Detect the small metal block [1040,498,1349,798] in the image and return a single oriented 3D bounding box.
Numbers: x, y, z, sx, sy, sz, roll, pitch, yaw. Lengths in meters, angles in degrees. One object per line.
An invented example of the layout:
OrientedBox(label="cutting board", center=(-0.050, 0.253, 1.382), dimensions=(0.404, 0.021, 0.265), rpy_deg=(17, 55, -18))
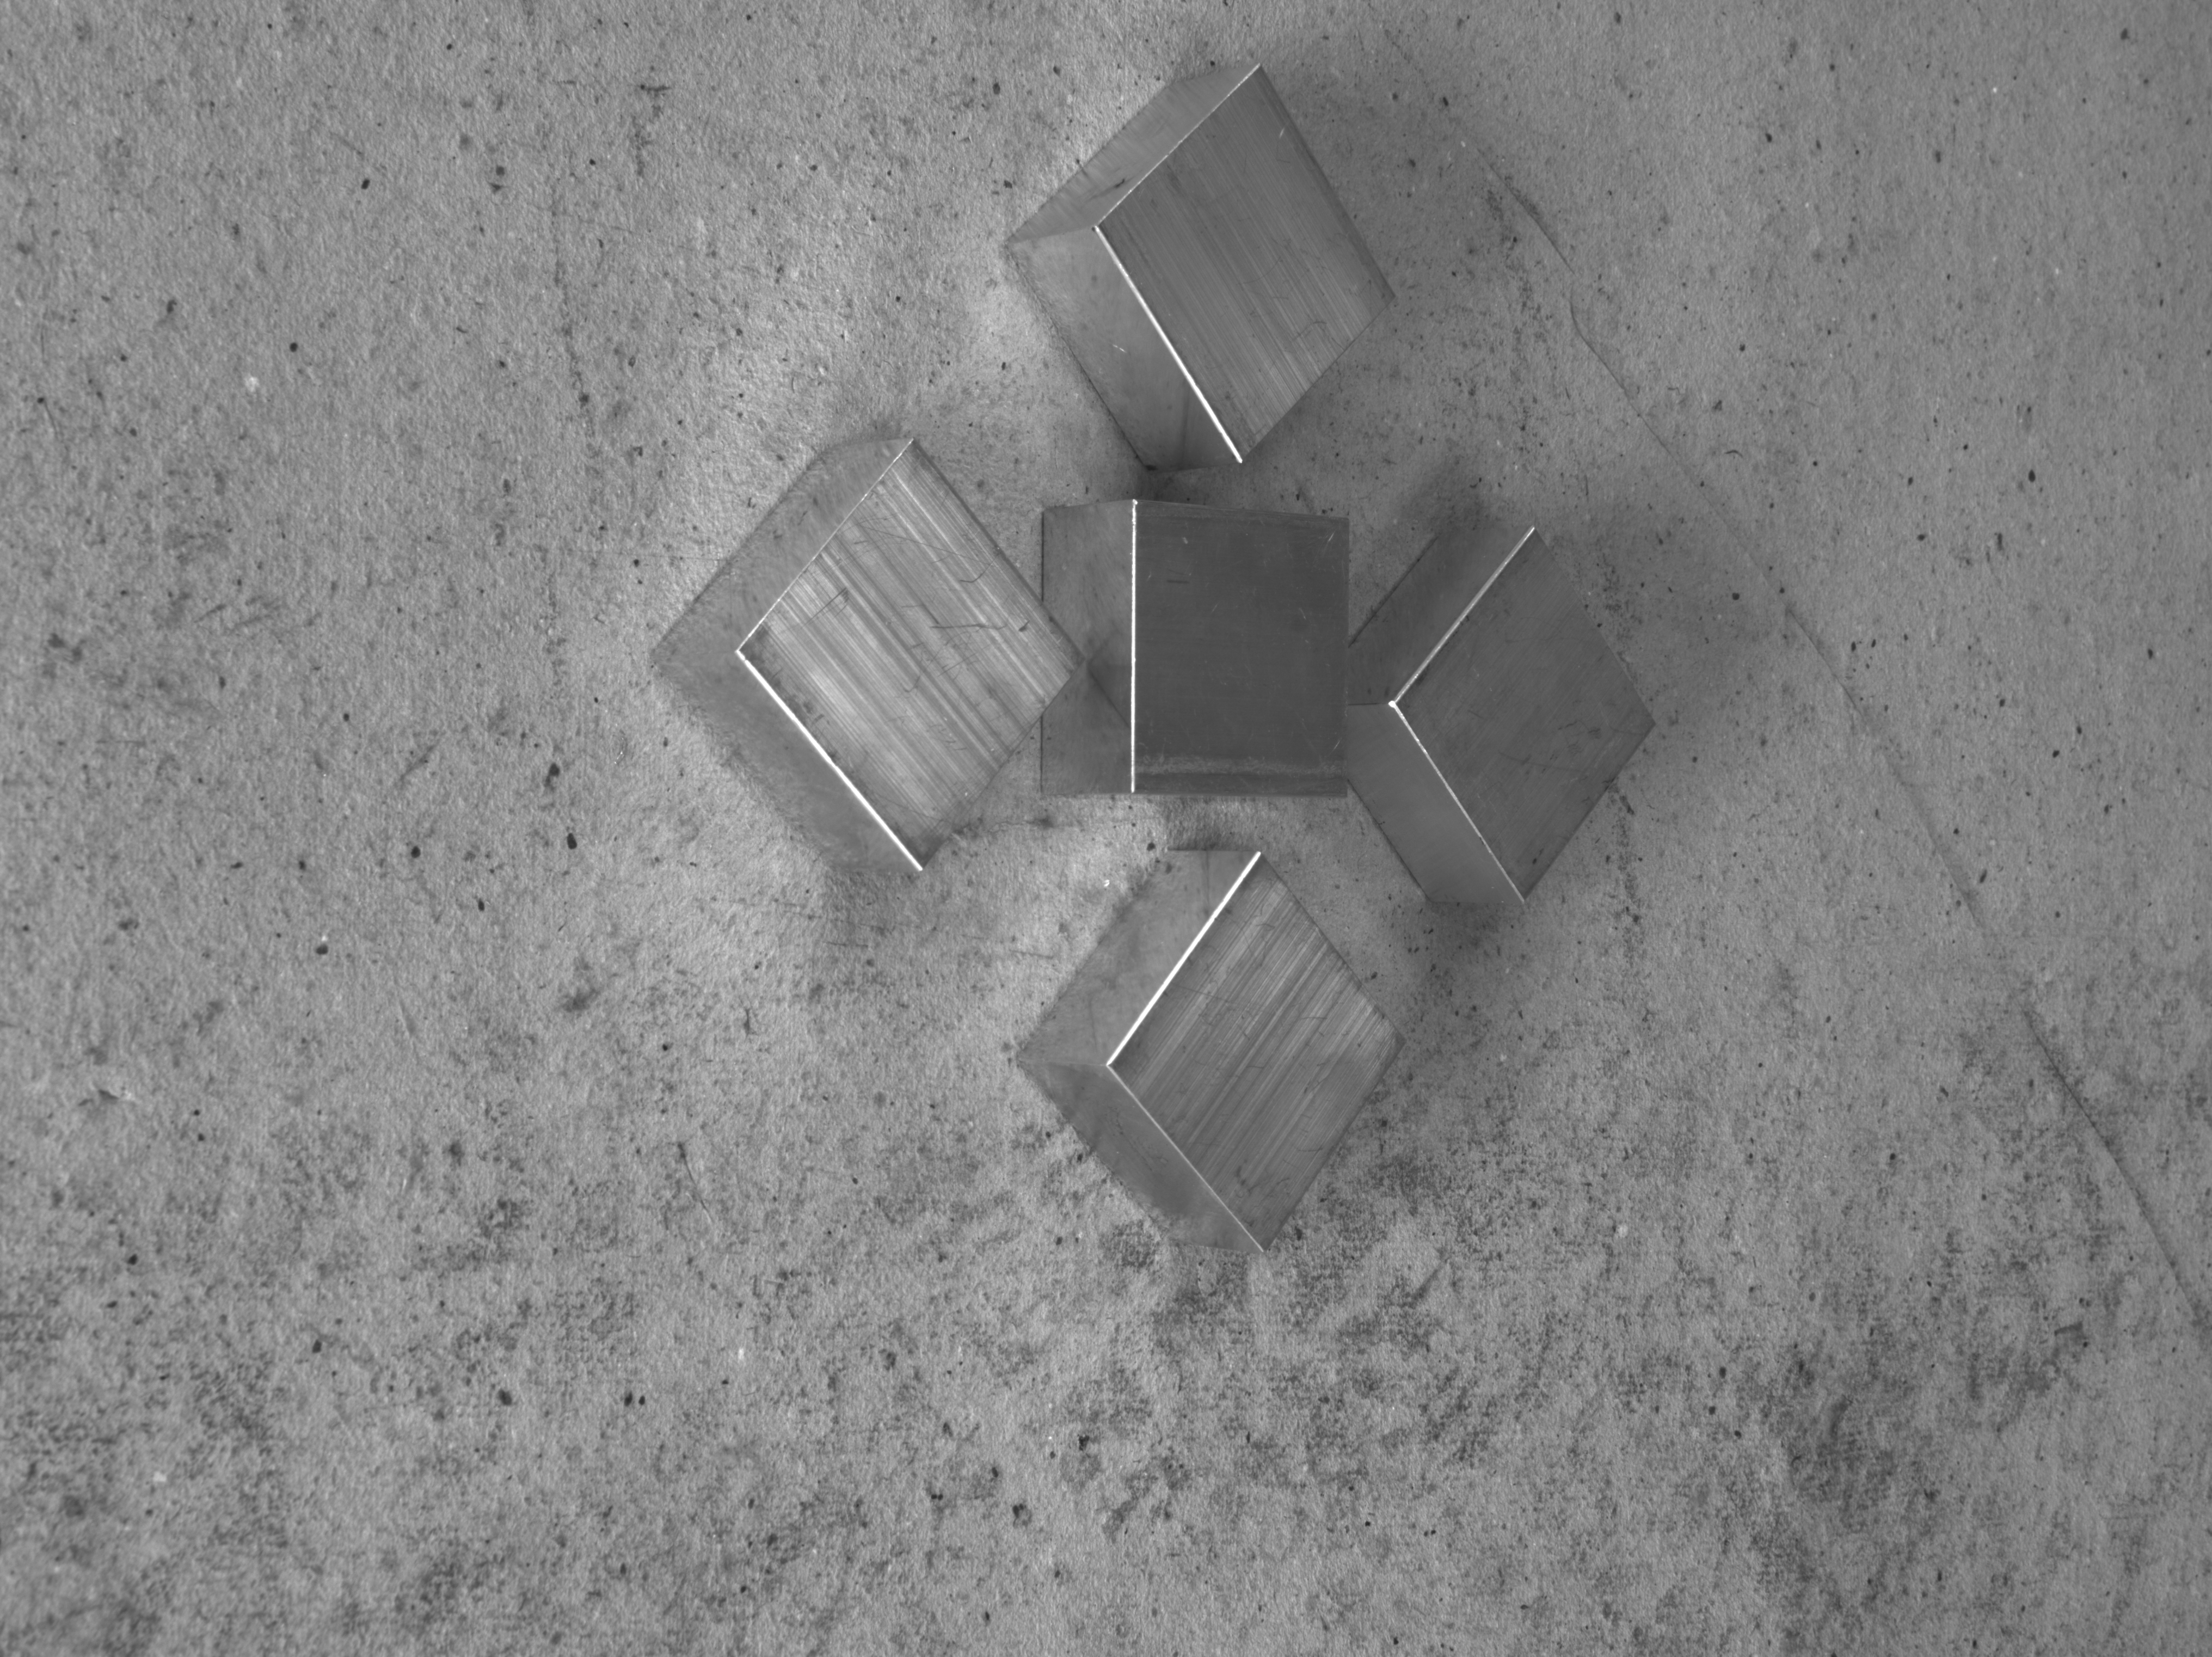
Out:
OrientedBox(label="small metal block", center=(0.016, -0.031, 0.649), dimensions=(0.050, 0.025, 0.050), rpy_deg=(1, 90, -39))

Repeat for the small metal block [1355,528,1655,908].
OrientedBox(label="small metal block", center=(0.070, -0.021, 0.696), dimensions=(0.050, 0.025, 0.050), rpy_deg=(-50, 120, -28))

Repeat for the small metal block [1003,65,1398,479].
OrientedBox(label="small metal block", center=(0.017, -0.098, 0.650), dimensions=(0.050, 0.025, 0.050), rpy_deg=(-48, 118, -29))

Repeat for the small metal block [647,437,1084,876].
OrientedBox(label="small metal block", center=(-0.039, -0.028, 0.605), dimensions=(0.050, 0.025, 0.050), rpy_deg=(51, 59, -28))

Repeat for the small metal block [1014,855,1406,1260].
OrientedBox(label="small metal block", center=(0.019, 0.040, 0.653), dimensions=(0.050, 0.025, 0.050), rpy_deg=(52, 59, -28))
